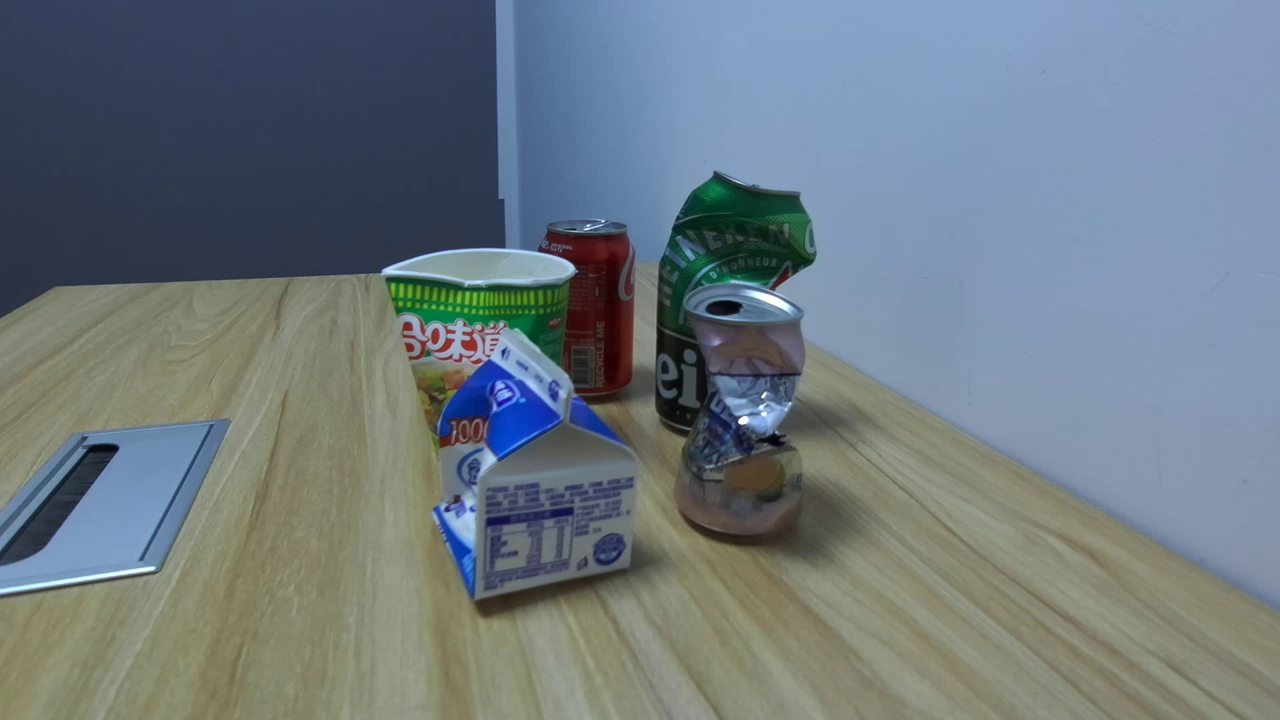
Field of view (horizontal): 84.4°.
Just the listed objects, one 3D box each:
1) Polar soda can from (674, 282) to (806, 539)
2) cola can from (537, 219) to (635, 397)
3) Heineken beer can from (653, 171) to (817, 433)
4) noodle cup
[{"bbox_3d":[0.049,0.025,0.339,0.074,0.114,0.070,14,29,38],"label":"Polar soda can"},{"bbox_3d":[-0.037,-0.036,0.494,0.068,0.120,0.068,1,16,0],"label":"cola can"},{"bbox_3d":[0.049,-0.029,0.430,0.079,0.159,0.067,3,18,-22],"label":"Heineken beer can"},{"bbox_3d":[-0.083,-0.002,0.406,0.093,0.109,0.087,12,22,25],"label":"noodle cup"}]
